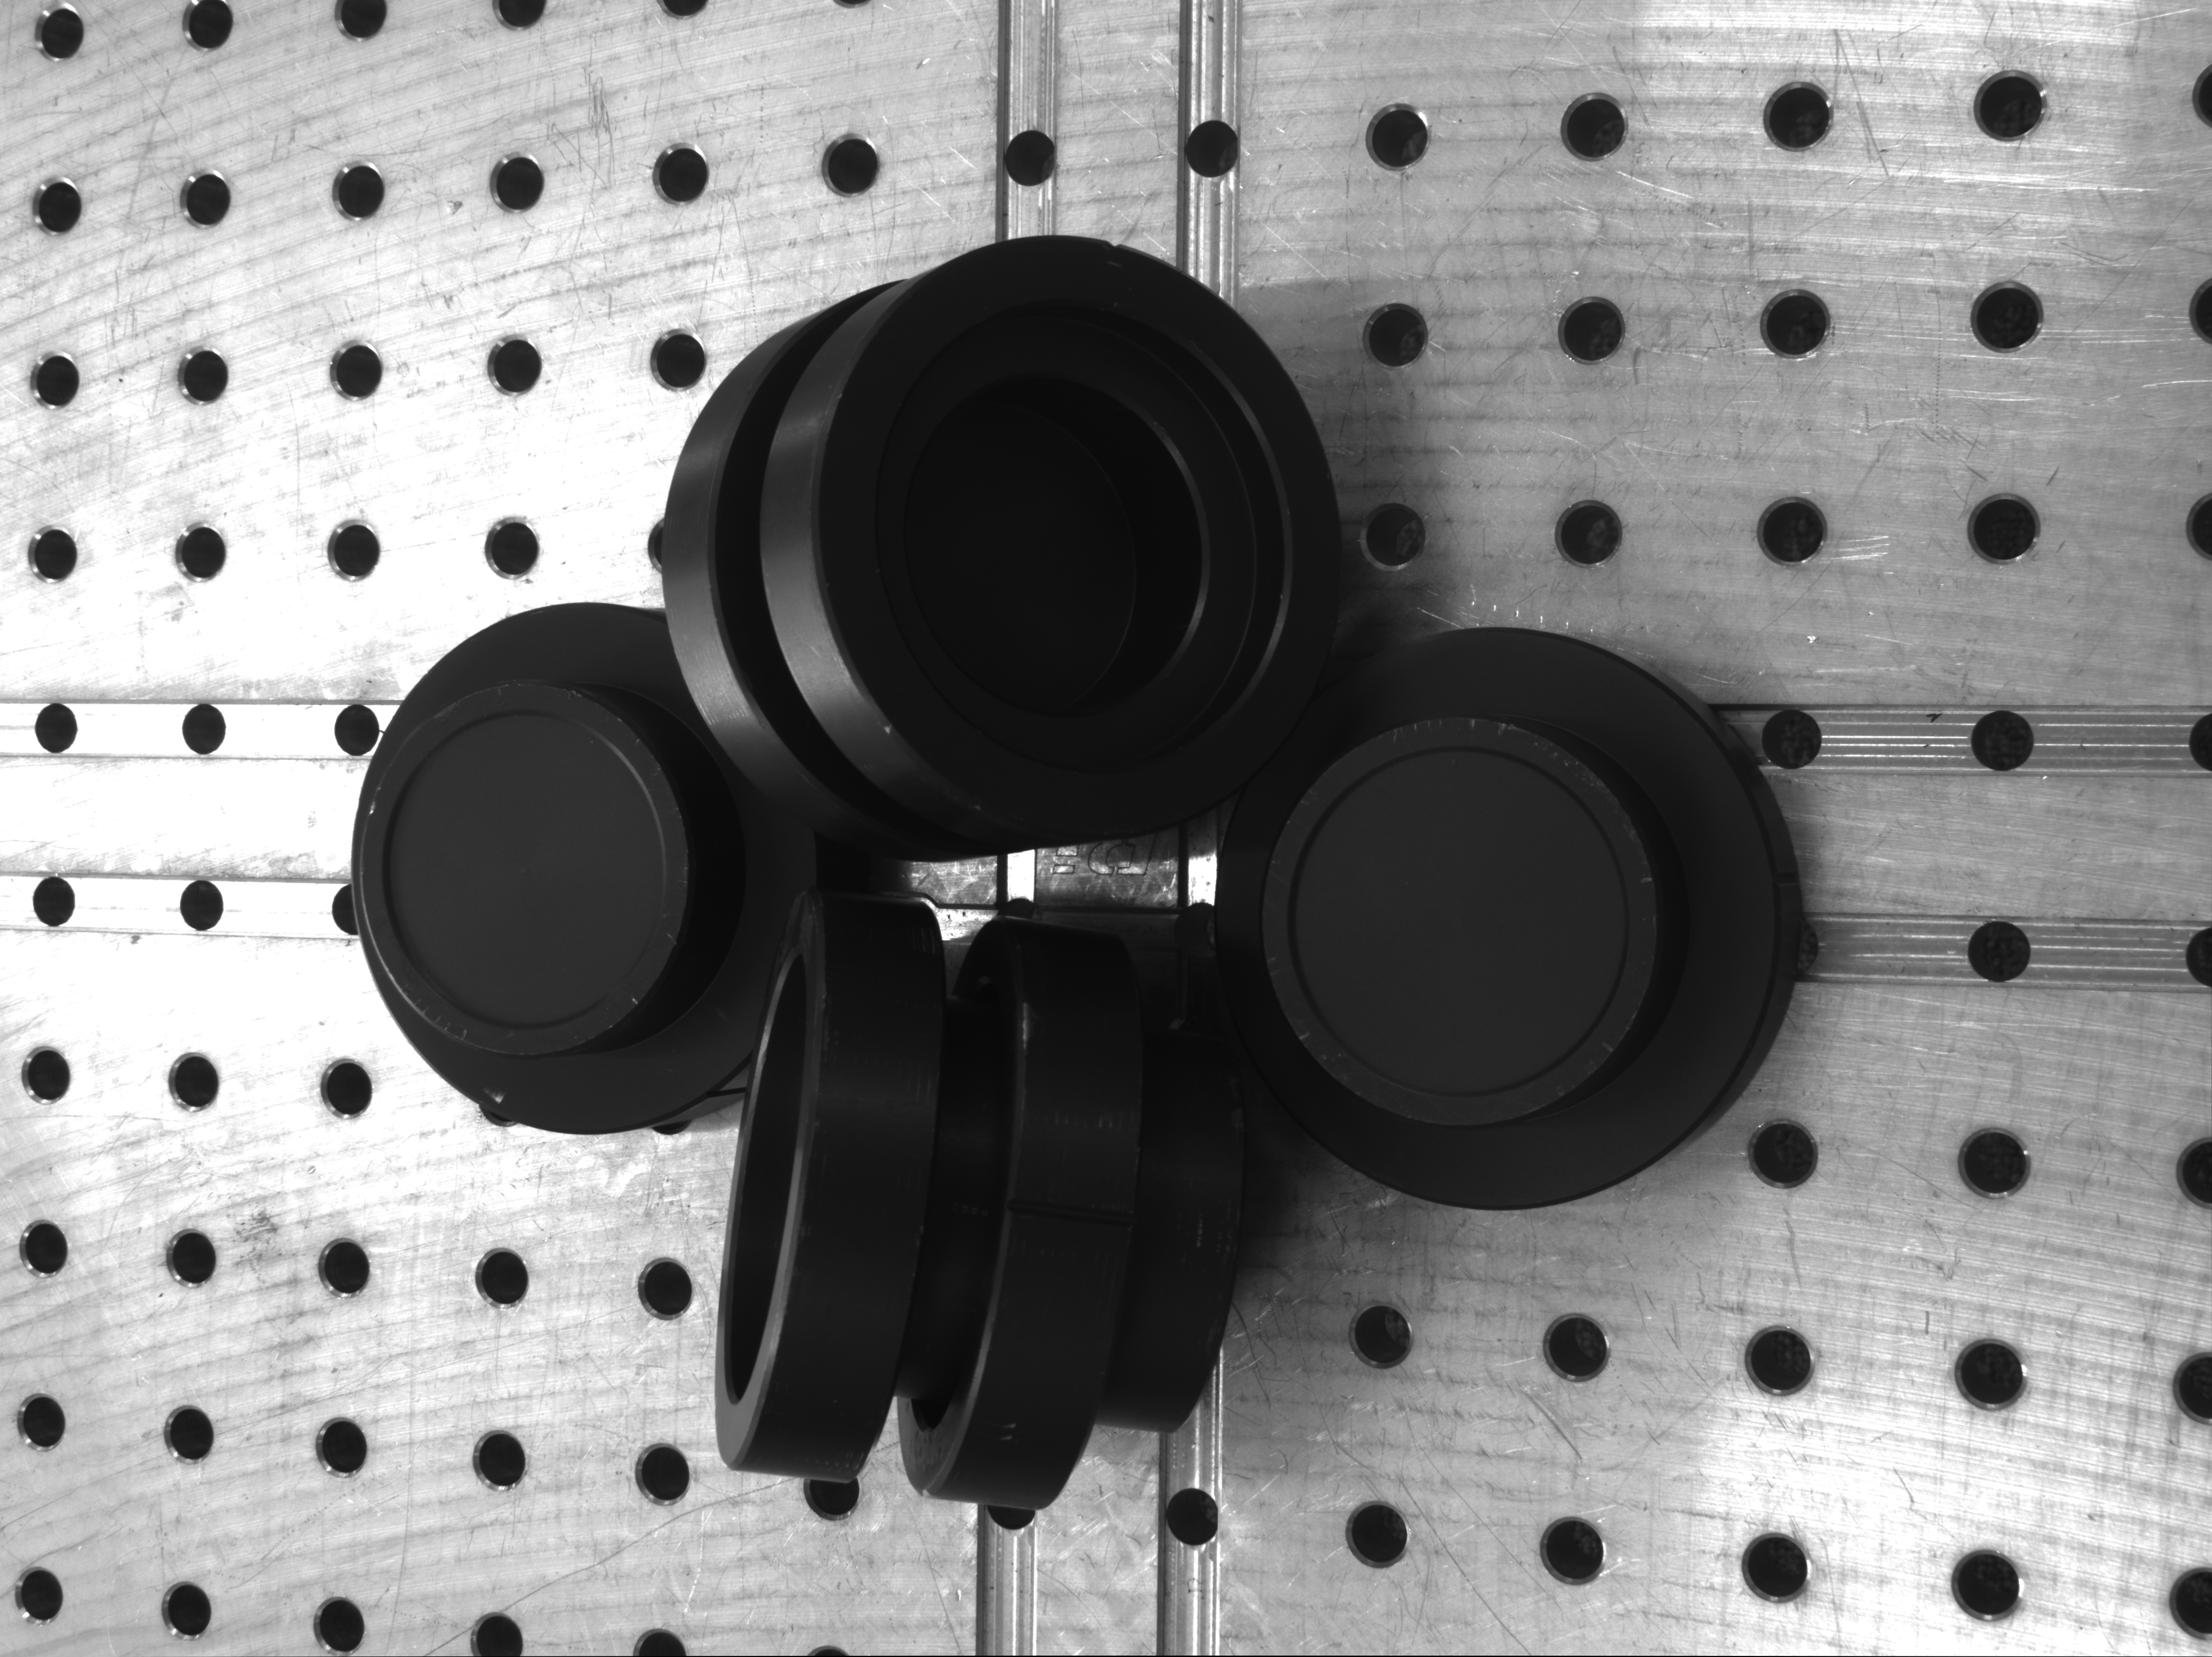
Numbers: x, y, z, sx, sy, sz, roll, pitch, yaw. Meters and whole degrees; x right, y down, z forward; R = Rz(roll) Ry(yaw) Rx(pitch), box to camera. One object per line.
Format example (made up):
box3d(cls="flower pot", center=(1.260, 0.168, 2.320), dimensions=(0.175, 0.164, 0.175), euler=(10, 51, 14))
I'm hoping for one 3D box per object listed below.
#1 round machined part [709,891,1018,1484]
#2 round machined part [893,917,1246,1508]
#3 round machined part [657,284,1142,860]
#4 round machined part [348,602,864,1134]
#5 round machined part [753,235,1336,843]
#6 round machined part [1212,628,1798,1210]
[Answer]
box3d(cls="round machined part", center=(-0.038, 0.061, 0.619), dimensions=(0.042, 0.098, 0.098), euler=(8, 93, -12))
box3d(cls="round machined part", center=(-0.006, 0.066, 0.622), dimensions=(0.042, 0.098, 0.098), euler=(9, 94, -12))
box3d(cls="round machined part", center=(-0.032, -0.043, 0.635), dimensions=(0.042, 0.098, 0.098), euler=(-9, 86, 60))
box3d(cls="round machined part", center=(-0.098, 0.007, 0.675), dimensions=(0.098, 0.042, 0.098), euler=(0, 90, 20))
box3d(cls="round machined part", center=(-0.014, -0.046, 0.609), dimensions=(0.042, 0.098, 0.098), euler=(-9, 86, 60))
box3d(cls="round machined part", center=(0.064, 0.015, 0.617), dimensions=(0.098, 0.042, 0.098), euler=(0, 90, 20))
